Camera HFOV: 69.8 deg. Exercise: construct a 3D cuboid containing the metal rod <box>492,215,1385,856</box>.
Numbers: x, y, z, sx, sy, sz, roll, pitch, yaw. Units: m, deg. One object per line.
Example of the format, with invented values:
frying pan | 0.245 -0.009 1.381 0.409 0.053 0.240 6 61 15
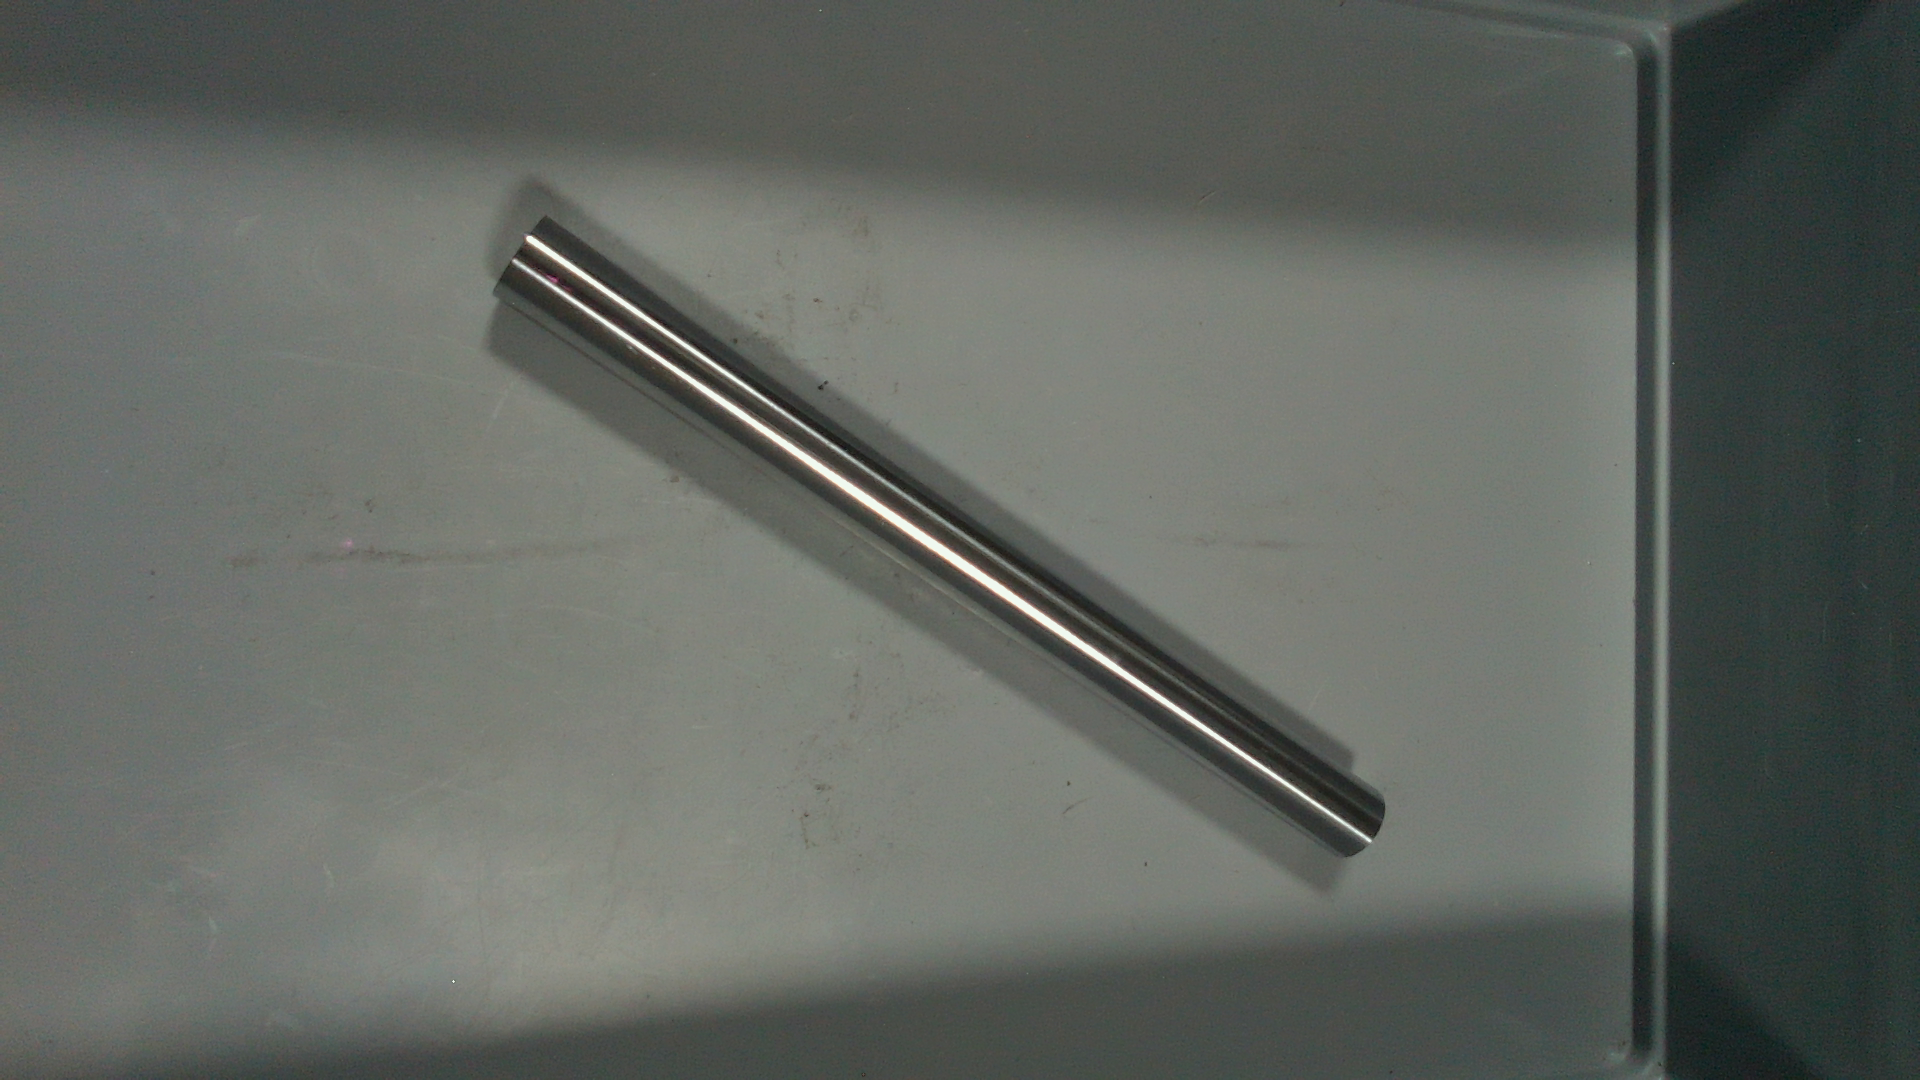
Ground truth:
metal rod | 0.007 0.008 0.394 0.301 0.025 0.025 34 79 -17
